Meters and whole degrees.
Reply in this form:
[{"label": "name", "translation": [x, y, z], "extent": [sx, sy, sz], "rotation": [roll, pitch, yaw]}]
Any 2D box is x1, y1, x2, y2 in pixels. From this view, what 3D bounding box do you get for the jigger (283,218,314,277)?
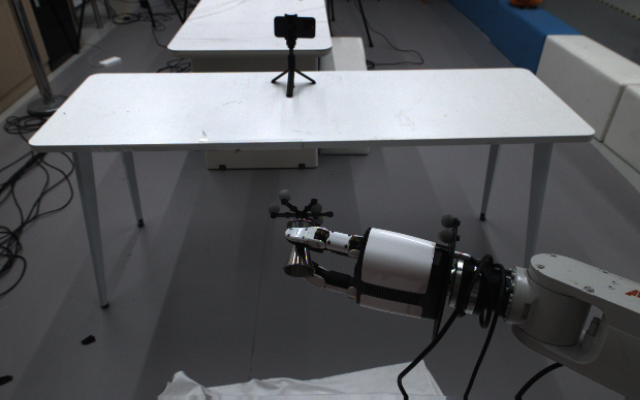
[{"label": "jigger", "translation": [-0.027, 0.061, 0.648], "extent": [0.043, 0.043, 0.071], "rotation": [2, 59, 0]}]
